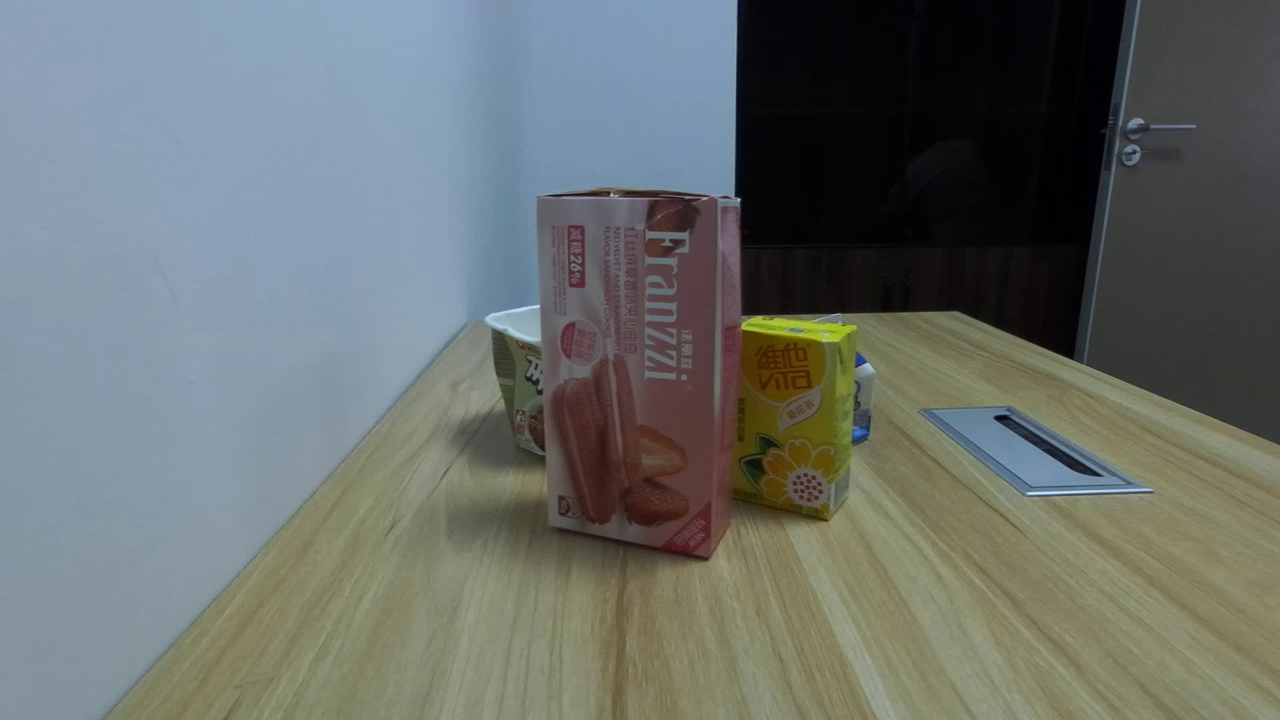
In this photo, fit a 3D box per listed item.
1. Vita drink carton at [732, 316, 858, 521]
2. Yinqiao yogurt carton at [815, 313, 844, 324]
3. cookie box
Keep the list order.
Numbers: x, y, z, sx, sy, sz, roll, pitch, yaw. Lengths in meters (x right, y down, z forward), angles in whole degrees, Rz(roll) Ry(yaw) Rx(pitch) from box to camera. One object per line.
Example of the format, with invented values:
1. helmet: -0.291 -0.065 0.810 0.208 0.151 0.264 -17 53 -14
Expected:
1. Vita drink carton: 0.089 0.032 0.421 0.066 0.109 0.044 8 19 29
2. Yinqiao yogurt carton: 0.121 0.019 0.517 0.078 0.094 0.070 -20 26 -40
3. cookie box: 0.004 0.005 0.378 0.105 0.187 0.049 5 15 21
